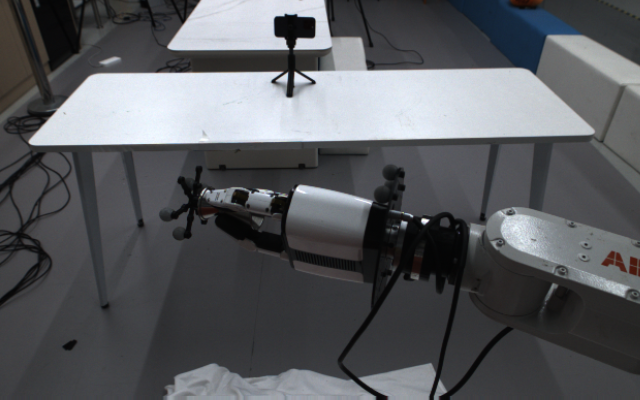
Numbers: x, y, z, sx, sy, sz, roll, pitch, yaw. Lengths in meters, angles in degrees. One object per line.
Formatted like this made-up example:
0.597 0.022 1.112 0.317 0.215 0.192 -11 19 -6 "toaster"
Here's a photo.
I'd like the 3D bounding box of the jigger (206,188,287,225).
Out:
-0.096 0.005 0.565 0.071 0.043 0.043 7 35 15 "jigger"
